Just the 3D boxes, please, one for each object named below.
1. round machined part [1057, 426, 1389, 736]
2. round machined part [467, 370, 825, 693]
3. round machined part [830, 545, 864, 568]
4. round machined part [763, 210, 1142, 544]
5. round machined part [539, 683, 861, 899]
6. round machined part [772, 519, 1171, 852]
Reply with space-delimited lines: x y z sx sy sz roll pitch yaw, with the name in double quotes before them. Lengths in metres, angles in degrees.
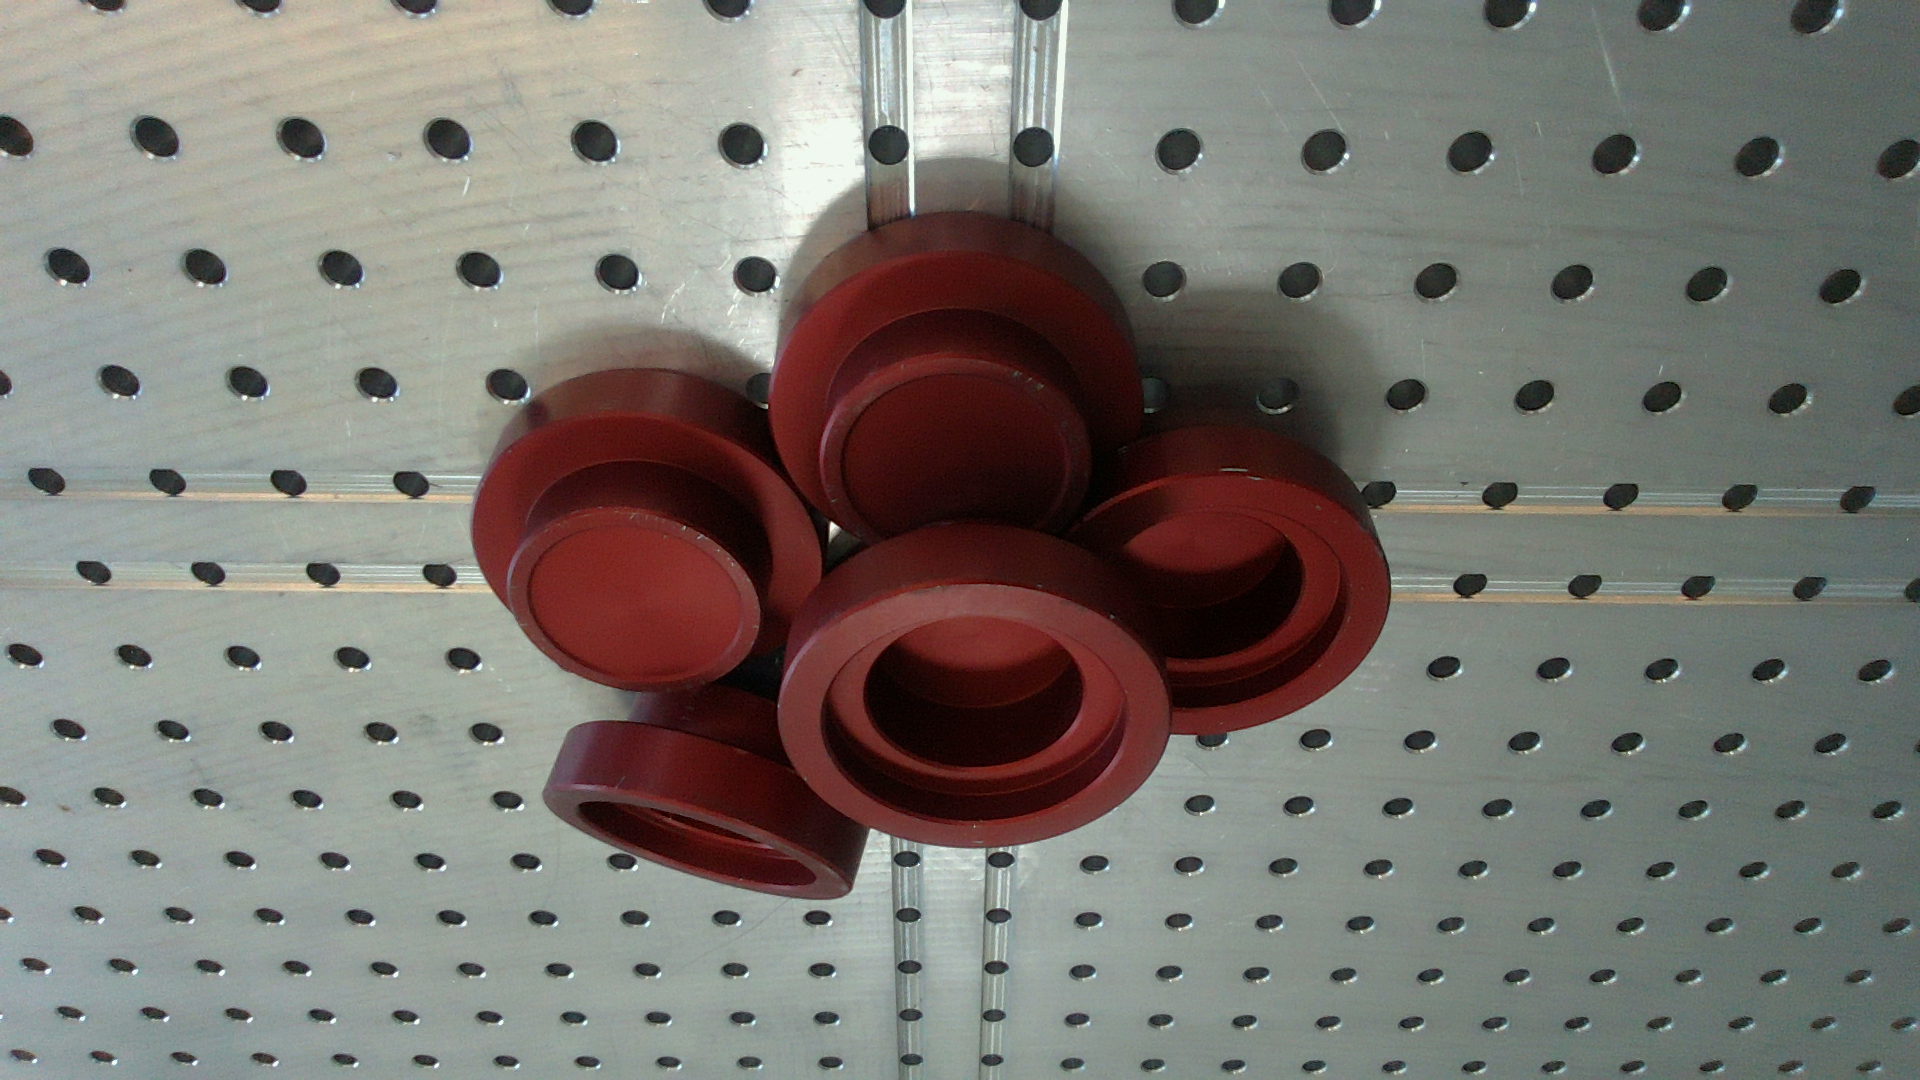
"round machined part" 0.067 0.007 0.388 0.098 0.042 0.098 0 130 0
"round machined part" -0.088 0.005 0.386 0.098 0.042 0.098 0 130 0
"round machined part" -0.001 0.044 0.419 0.098 0.042 0.098 0 130 0
"round machined part" -0.002 -0.031 0.356 0.098 0.042 0.098 0 130 0
"round machined part" -0.076 0.076 0.429 0.098 0.042 0.098 12 154 6
"round machined part" 0.003 0.034 0.355 0.098 0.042 0.098 0 130 0
